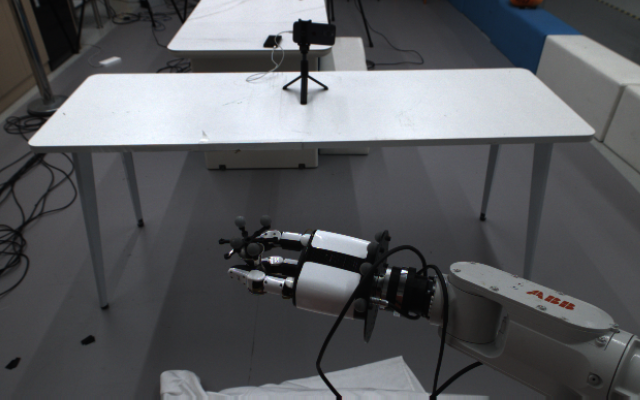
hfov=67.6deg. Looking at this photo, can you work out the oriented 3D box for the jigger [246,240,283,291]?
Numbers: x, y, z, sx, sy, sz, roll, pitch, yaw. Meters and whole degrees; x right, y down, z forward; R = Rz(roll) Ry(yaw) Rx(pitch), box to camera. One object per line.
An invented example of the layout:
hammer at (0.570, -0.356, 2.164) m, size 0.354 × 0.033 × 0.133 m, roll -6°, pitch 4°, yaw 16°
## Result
jigger at (-0.092, 0.099, 0.722) m, size 0.043 × 0.071 × 0.043 m, roll -9°, pitch 31°, yaw 5°
